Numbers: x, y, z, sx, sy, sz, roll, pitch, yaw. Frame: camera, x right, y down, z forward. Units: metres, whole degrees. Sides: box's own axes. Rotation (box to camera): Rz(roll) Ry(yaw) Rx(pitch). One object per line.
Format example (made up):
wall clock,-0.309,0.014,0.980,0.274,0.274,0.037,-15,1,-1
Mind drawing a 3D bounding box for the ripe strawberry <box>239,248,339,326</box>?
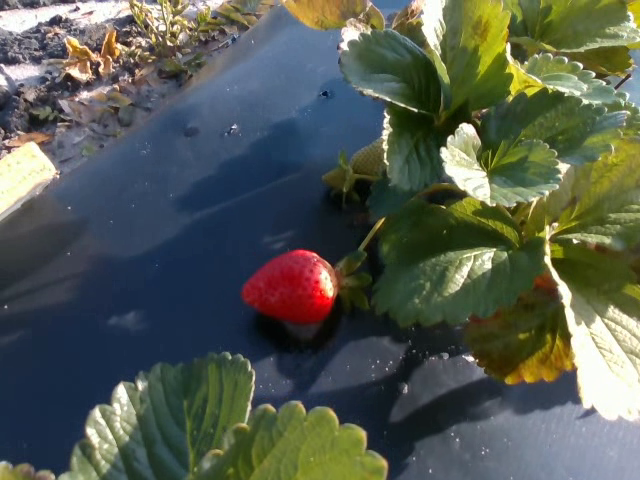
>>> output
ripe strawberry,-0.013,0.020,0.237,0.045,0.033,0.030,-7,9,-9
